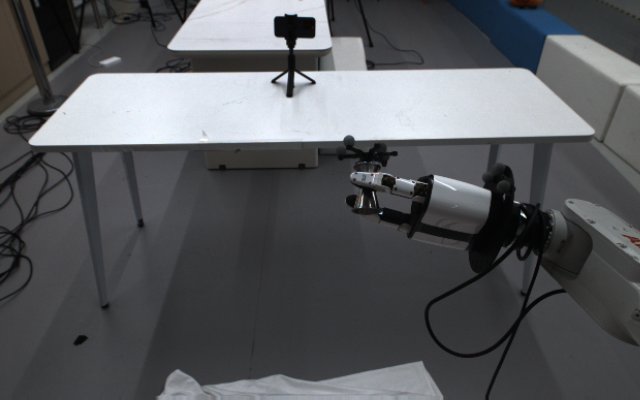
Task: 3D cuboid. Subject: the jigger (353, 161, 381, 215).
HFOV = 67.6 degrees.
[{"bbox_3d":[0.066,-0.018,0.696,0.043,0.043,0.071,3,76,1],"label":"jigger"}]
